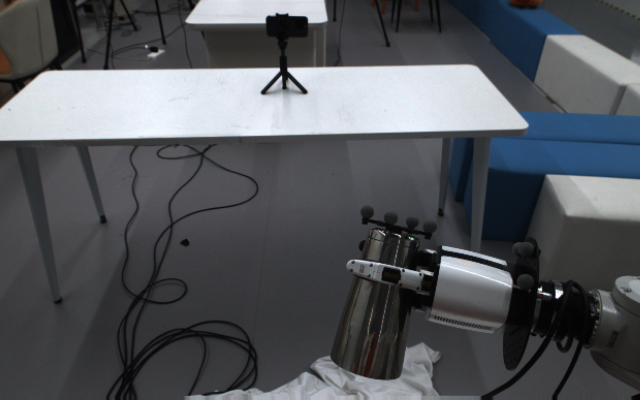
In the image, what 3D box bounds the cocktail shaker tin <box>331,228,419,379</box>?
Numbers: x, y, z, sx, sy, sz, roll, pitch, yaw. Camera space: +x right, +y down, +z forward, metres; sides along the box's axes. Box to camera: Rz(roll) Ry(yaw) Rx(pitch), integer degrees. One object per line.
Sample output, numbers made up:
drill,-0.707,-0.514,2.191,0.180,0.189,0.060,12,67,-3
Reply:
cocktail shaker tin,0.080,0.122,0.613,0.093,0.170,0.093,13,1,0
